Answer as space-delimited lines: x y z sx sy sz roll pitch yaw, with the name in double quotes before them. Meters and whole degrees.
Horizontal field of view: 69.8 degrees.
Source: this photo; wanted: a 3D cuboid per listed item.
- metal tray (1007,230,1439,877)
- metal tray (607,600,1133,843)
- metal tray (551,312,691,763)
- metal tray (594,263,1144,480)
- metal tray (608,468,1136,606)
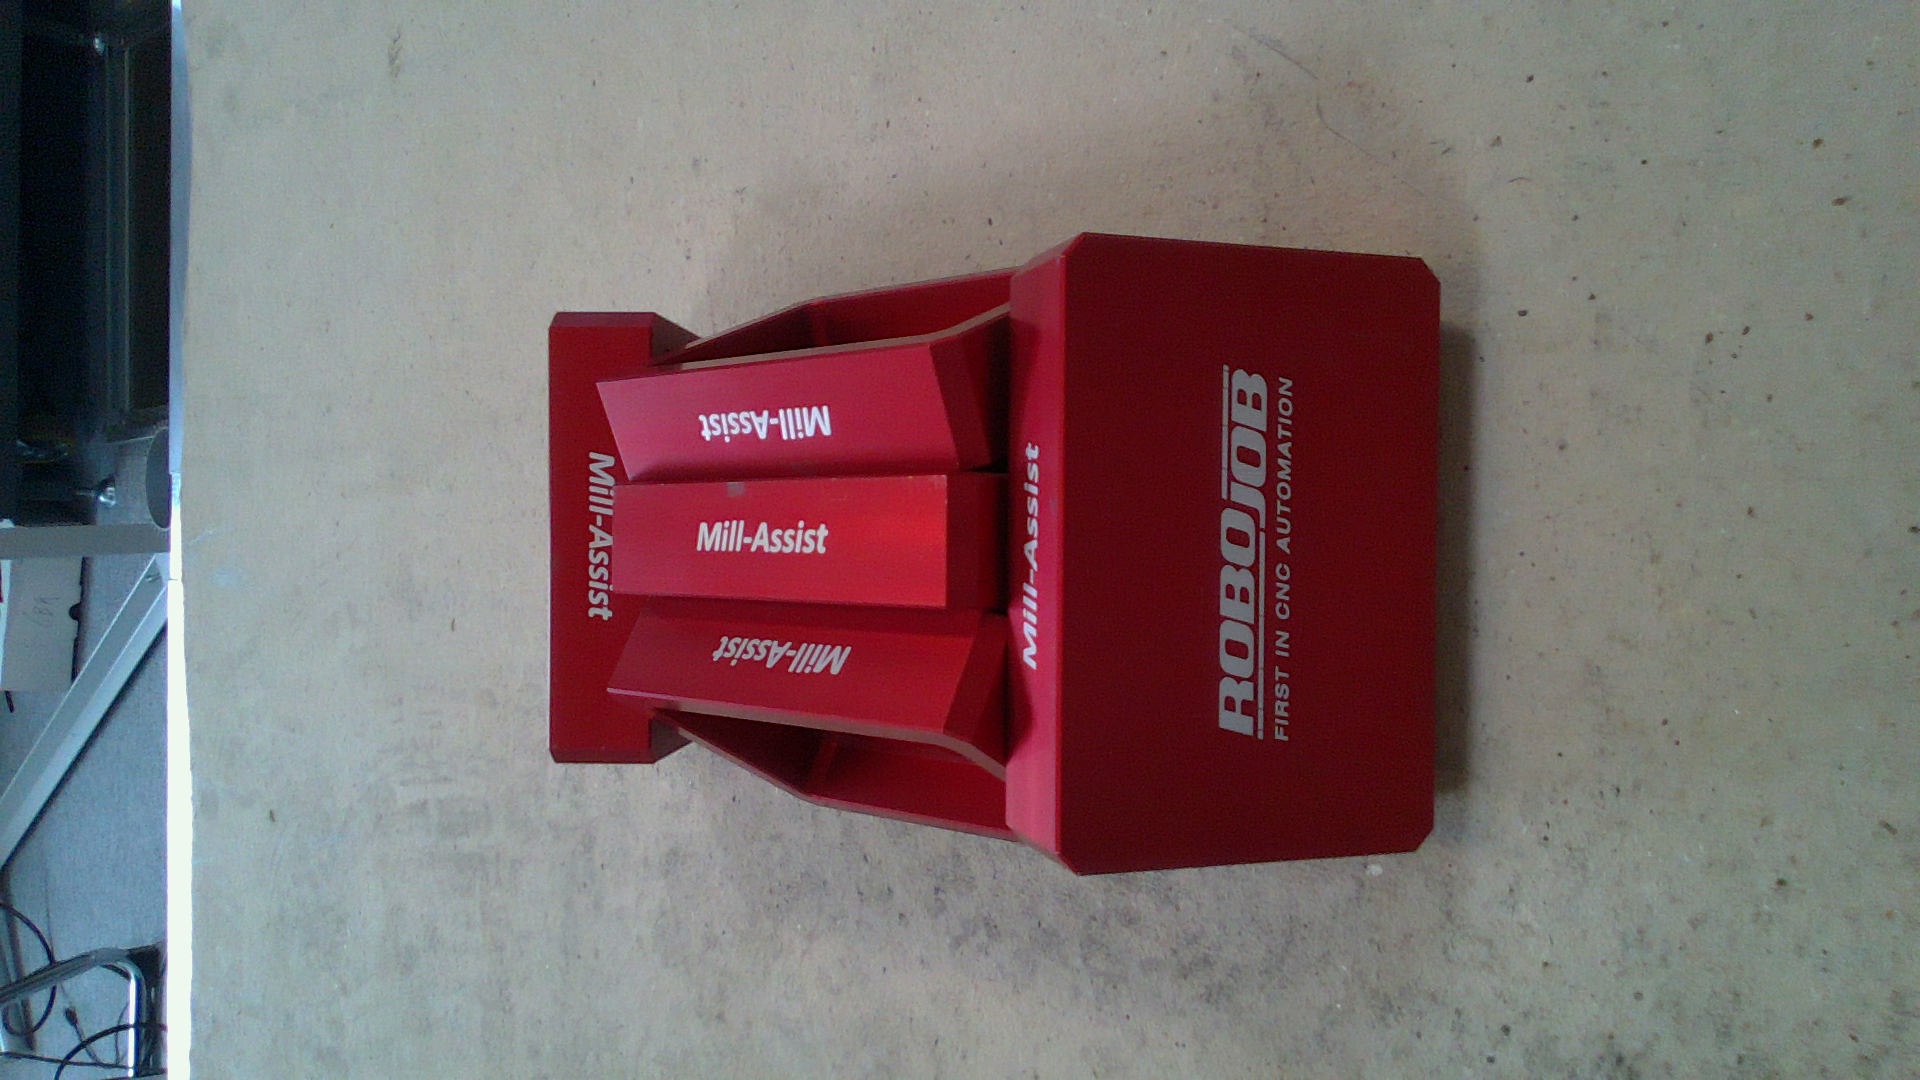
"metal tray" 0.058 0.003 0.302 0.030 0.090 0.130 -178 89 -72
"metal tray" -0.020 0.050 0.368 0.129 0.090 0.030 1 61 40
"metal tray" -0.099 -0.001 0.437 0.030 0.090 0.130 0 90 4
"metal tray" -0.022 -0.046 0.368 0.129 0.090 0.030 0 112 40
"metal tray" -0.020 -0.001 0.369 0.129 0.090 0.030 0 90 40
